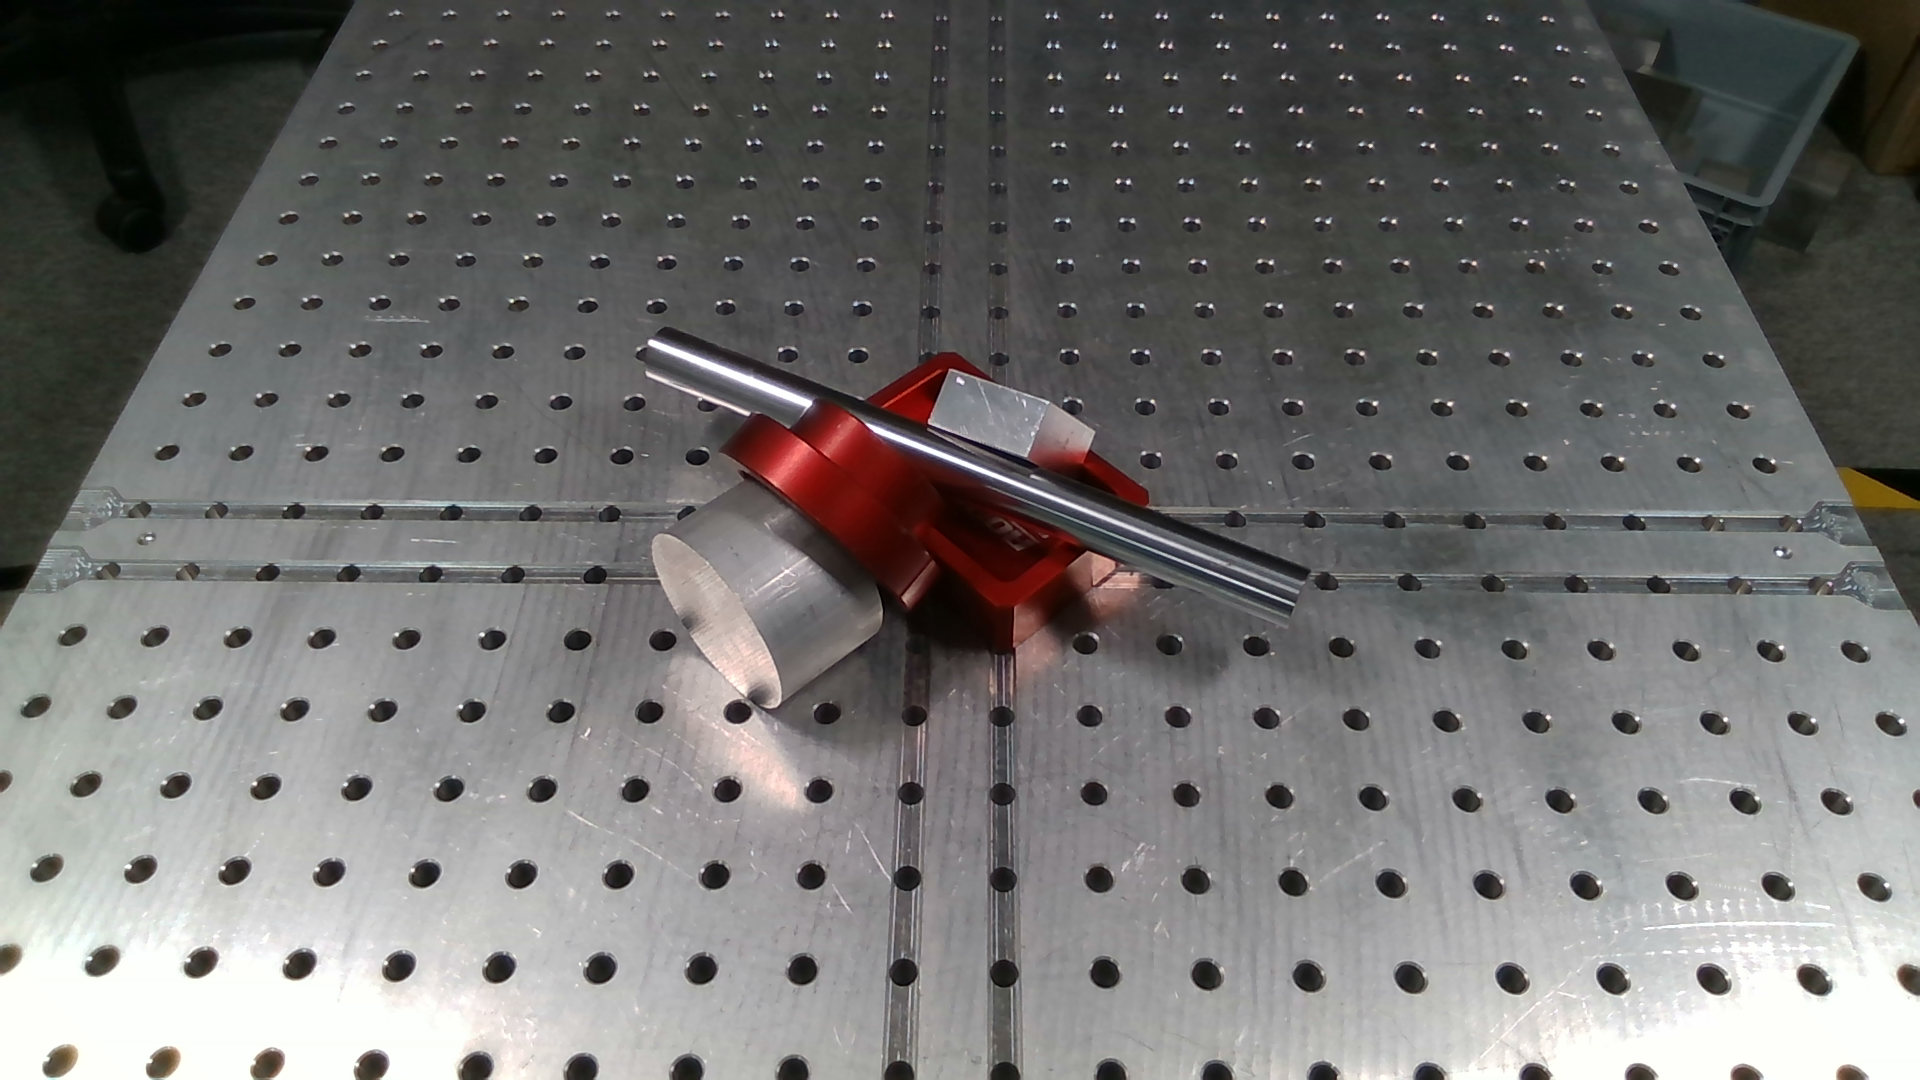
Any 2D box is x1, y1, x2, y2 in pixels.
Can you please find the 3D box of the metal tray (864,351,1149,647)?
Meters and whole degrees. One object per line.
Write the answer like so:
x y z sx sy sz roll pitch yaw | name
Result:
0.006 -0.022 0.604 0.090 0.030 0.130 -36 59 -26 | metal tray

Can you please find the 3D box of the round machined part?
-0.045 -0.019 0.545 0.098 0.098 0.042 36 81 26 | round machined part

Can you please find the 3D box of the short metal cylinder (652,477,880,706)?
-0.077 0.018 0.538 0.050 0.080 0.080 -36 59 -26 | short metal cylinder

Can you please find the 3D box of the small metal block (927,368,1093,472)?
0.022 -0.048 0.585 0.050 0.050 0.025 22 91 29 | small metal block

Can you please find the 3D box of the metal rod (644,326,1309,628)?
-0.002 -0.031 0.576 0.300 0.025 0.025 22 54 17 | metal rod
